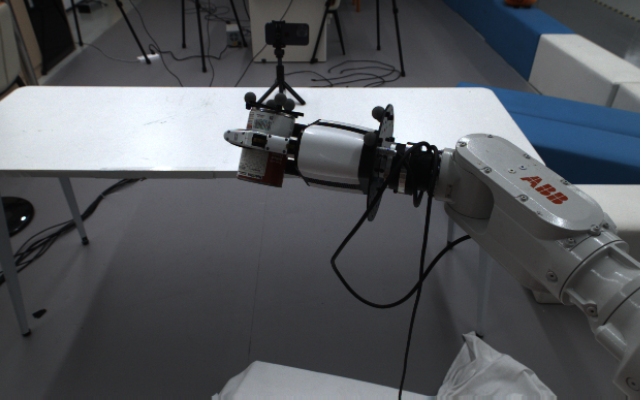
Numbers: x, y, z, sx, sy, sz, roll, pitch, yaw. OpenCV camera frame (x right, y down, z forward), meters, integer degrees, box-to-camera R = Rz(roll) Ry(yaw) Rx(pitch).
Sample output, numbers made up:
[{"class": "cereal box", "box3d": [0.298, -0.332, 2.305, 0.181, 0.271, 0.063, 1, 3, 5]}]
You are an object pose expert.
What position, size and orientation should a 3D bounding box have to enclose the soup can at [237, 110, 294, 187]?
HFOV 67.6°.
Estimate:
[{"class": "soup can", "box3d": [-0.076, -0.073, 0.687, 0.067, 0.101, 0.067, 11, 2, 0]}]
